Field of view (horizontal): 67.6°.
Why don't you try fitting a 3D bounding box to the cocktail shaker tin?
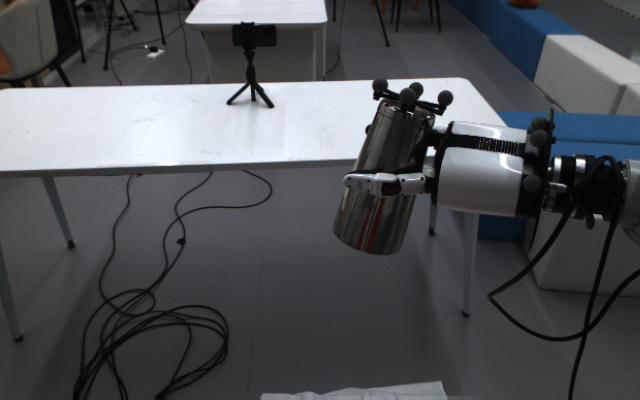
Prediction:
[{"bbox_3d":[0.082,-0.032,0.585,0.093,0.170,0.093,12,24,-5],"label":"cocktail shaker tin"}]
